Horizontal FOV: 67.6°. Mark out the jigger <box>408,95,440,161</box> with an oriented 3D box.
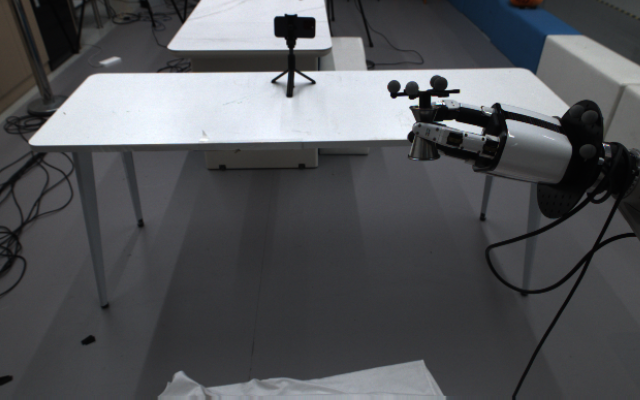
[{"bbox_3d":[0.138,-0.090,0.645,0.043,0.071,0.043,-2,19,1],"label":"jigger"}]
